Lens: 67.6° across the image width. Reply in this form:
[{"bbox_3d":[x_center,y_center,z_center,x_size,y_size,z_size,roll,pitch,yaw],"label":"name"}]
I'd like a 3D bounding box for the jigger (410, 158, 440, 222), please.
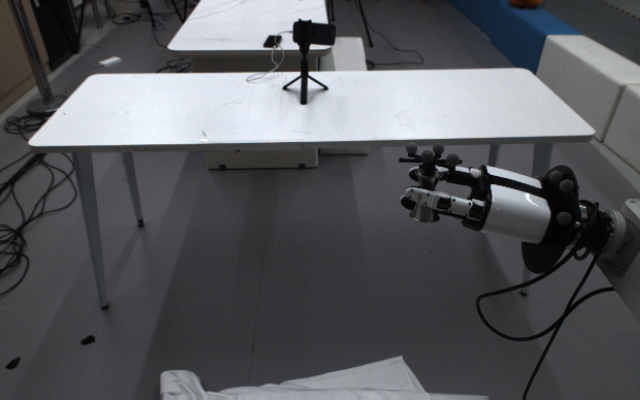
[{"bbox_3d":[0.153,-0.009,0.703,0.043,0.071,0.043,1,20,0],"label":"jigger"}]
